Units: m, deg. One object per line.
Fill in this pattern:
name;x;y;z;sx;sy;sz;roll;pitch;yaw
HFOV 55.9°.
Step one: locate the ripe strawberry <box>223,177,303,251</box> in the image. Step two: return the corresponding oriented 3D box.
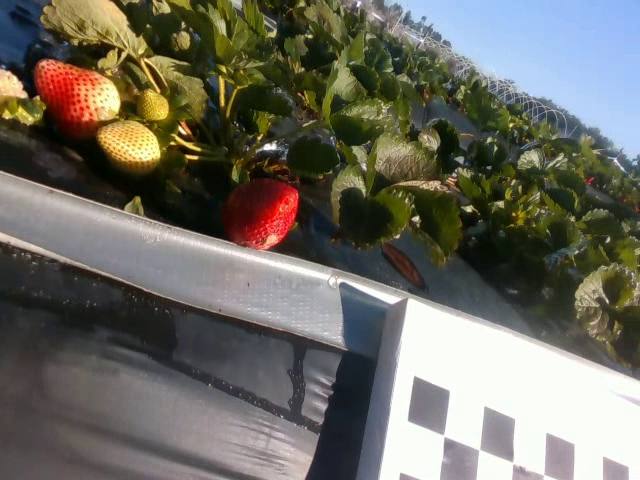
ripe strawberry;-0.024;-0.012;0.248;0.036;0.038;0.045;22;-15;-17
